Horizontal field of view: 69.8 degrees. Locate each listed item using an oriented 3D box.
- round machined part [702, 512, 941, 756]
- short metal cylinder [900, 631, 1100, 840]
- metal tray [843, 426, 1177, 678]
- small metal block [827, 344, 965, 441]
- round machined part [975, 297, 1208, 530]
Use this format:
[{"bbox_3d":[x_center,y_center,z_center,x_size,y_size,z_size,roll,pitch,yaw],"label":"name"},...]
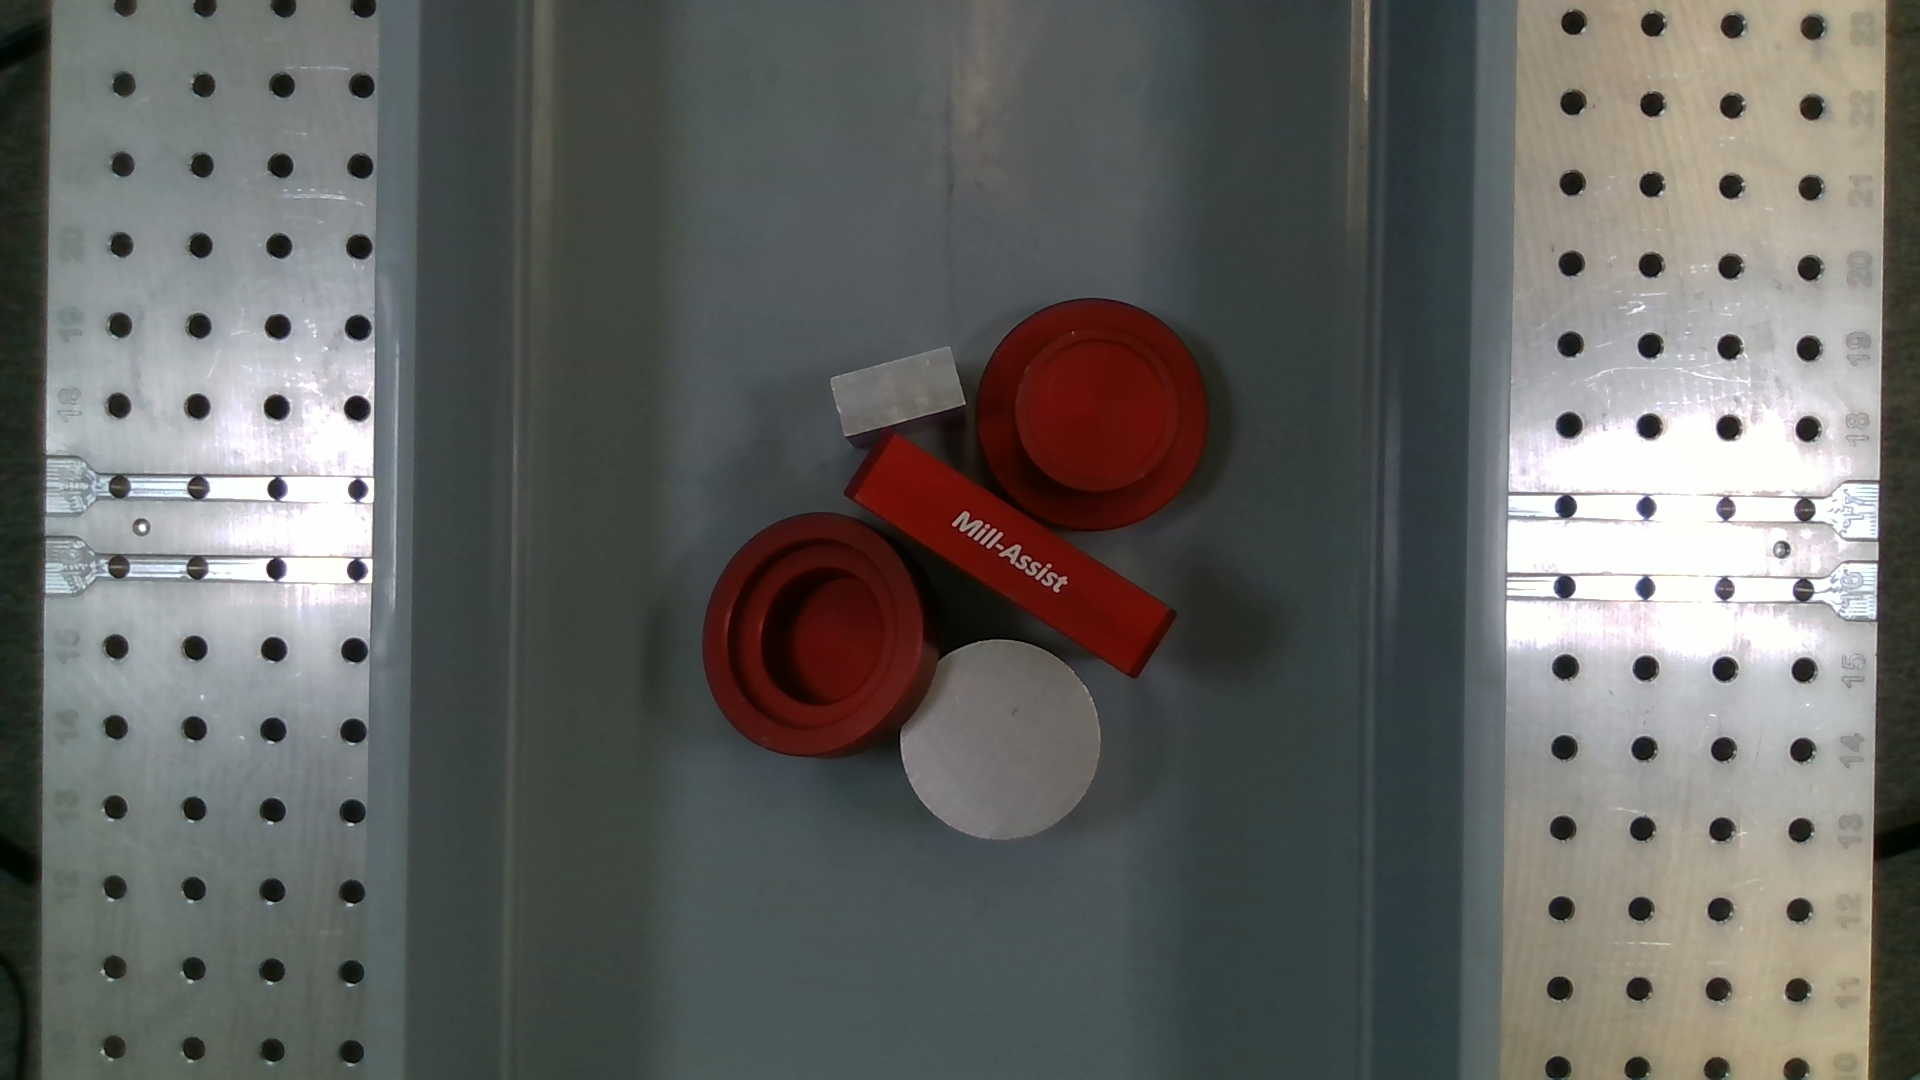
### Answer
[{"bbox_3d":[-0.053,0.040,0.566,0.098,0.042,0.098,-4,78,20],"label":"round machined part"},{"bbox_3d":[0.016,0.080,0.574,0.080,0.050,0.080,0,90,0],"label":"short metal cylinder"},{"bbox_3d":[0.019,0.004,0.553,0.130,0.090,0.030,33,90,0],"label":"metal tray"},{"bbox_3d":[-0.025,-0.059,0.572,0.050,0.050,0.025,-15,90,0],"label":"small metal block"},{"bbox_3d":[0.055,-0.053,0.576,0.098,0.042,0.098,0,91,0],"label":"round machined part"}]
